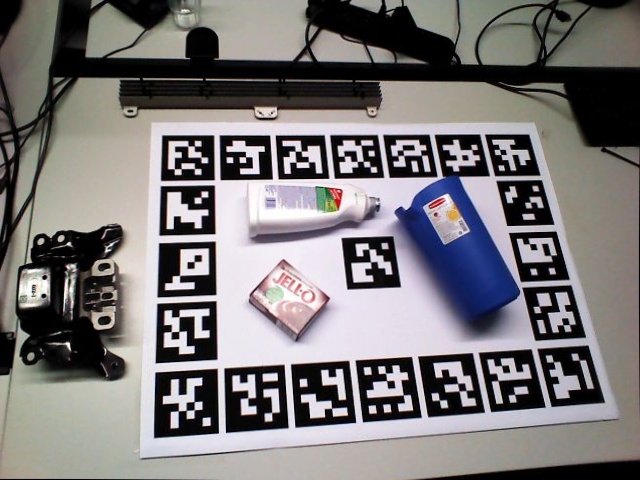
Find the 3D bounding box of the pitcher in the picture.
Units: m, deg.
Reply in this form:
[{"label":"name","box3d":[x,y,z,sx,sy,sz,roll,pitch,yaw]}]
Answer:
[{"label":"pitcher","box3d":[0.270,0.027,0.934,0.187,0.134,0.242,-15,73,-50]}]

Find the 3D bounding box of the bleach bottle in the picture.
[{"label":"bleach bottle","box3d":[0.002,-0.060,0.948,0.250,0.068,0.102,-4,73,-12]}]

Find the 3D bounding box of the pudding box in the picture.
[{"label":"pudding box","box3d":[-0.044,0.105,0.884,0.114,0.039,0.089,41,63,7]}]
